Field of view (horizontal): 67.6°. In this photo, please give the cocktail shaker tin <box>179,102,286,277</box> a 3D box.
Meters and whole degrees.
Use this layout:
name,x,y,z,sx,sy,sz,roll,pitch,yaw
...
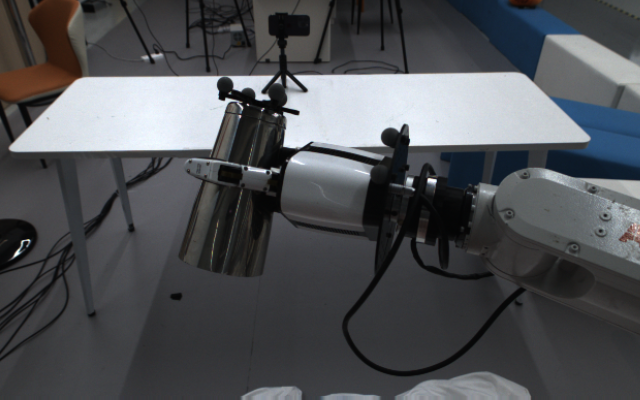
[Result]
name,x,y,z,sx,sy,sz,roll,pitch,yaw
cocktail shaker tin,-0.086,-0.012,0.521,0.093,0.170,0.093,13,2,0
